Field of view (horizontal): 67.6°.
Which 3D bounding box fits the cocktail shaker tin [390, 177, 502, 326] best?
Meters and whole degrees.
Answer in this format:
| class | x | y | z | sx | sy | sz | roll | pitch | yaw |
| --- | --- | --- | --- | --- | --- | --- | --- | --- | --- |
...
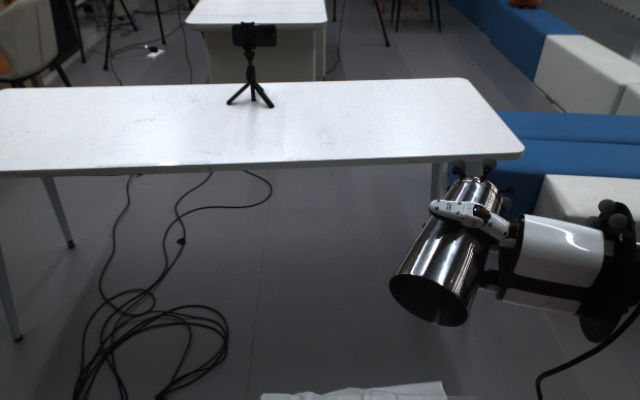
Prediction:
| class | x | y | z | sx | sy | sz | roll | pitch | yaw |
| --- | --- | --- | --- | --- | --- | --- | --- | --- | --- |
| cocktail shaker tin | 0.162 | 0.048 | 0.572 | 0.093 | 0.093 | 0.170 | 19 | 55 | 22 |
